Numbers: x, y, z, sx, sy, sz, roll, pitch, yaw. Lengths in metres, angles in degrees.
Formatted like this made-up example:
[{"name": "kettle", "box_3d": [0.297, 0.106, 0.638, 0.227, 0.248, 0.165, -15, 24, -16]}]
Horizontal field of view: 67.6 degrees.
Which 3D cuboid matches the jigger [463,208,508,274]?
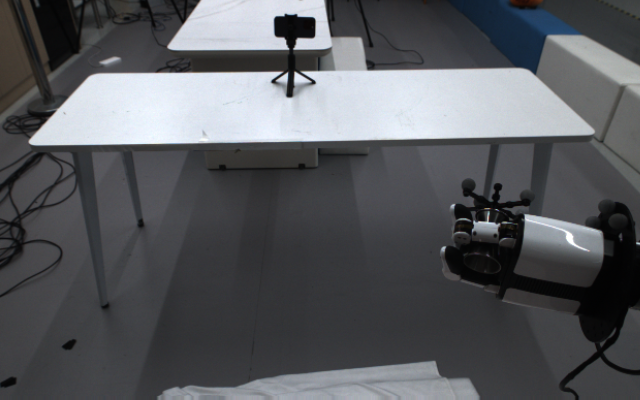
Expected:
[{"name": "jigger", "box_3d": [0.204, 0.048, 0.582, 0.043, 0.043, 0.071, 13, 57, 15]}]
